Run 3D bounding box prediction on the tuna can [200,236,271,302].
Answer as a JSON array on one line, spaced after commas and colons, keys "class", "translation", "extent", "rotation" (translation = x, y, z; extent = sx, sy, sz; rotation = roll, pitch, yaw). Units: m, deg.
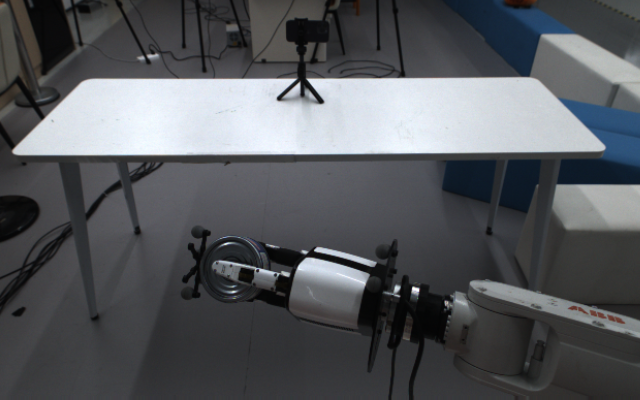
[{"class": "tuna can", "translation": [-0.105, 0.087, 0.617], "extent": [0.085, 0.085, 0.034], "rotation": [10, -6, 11]}]
